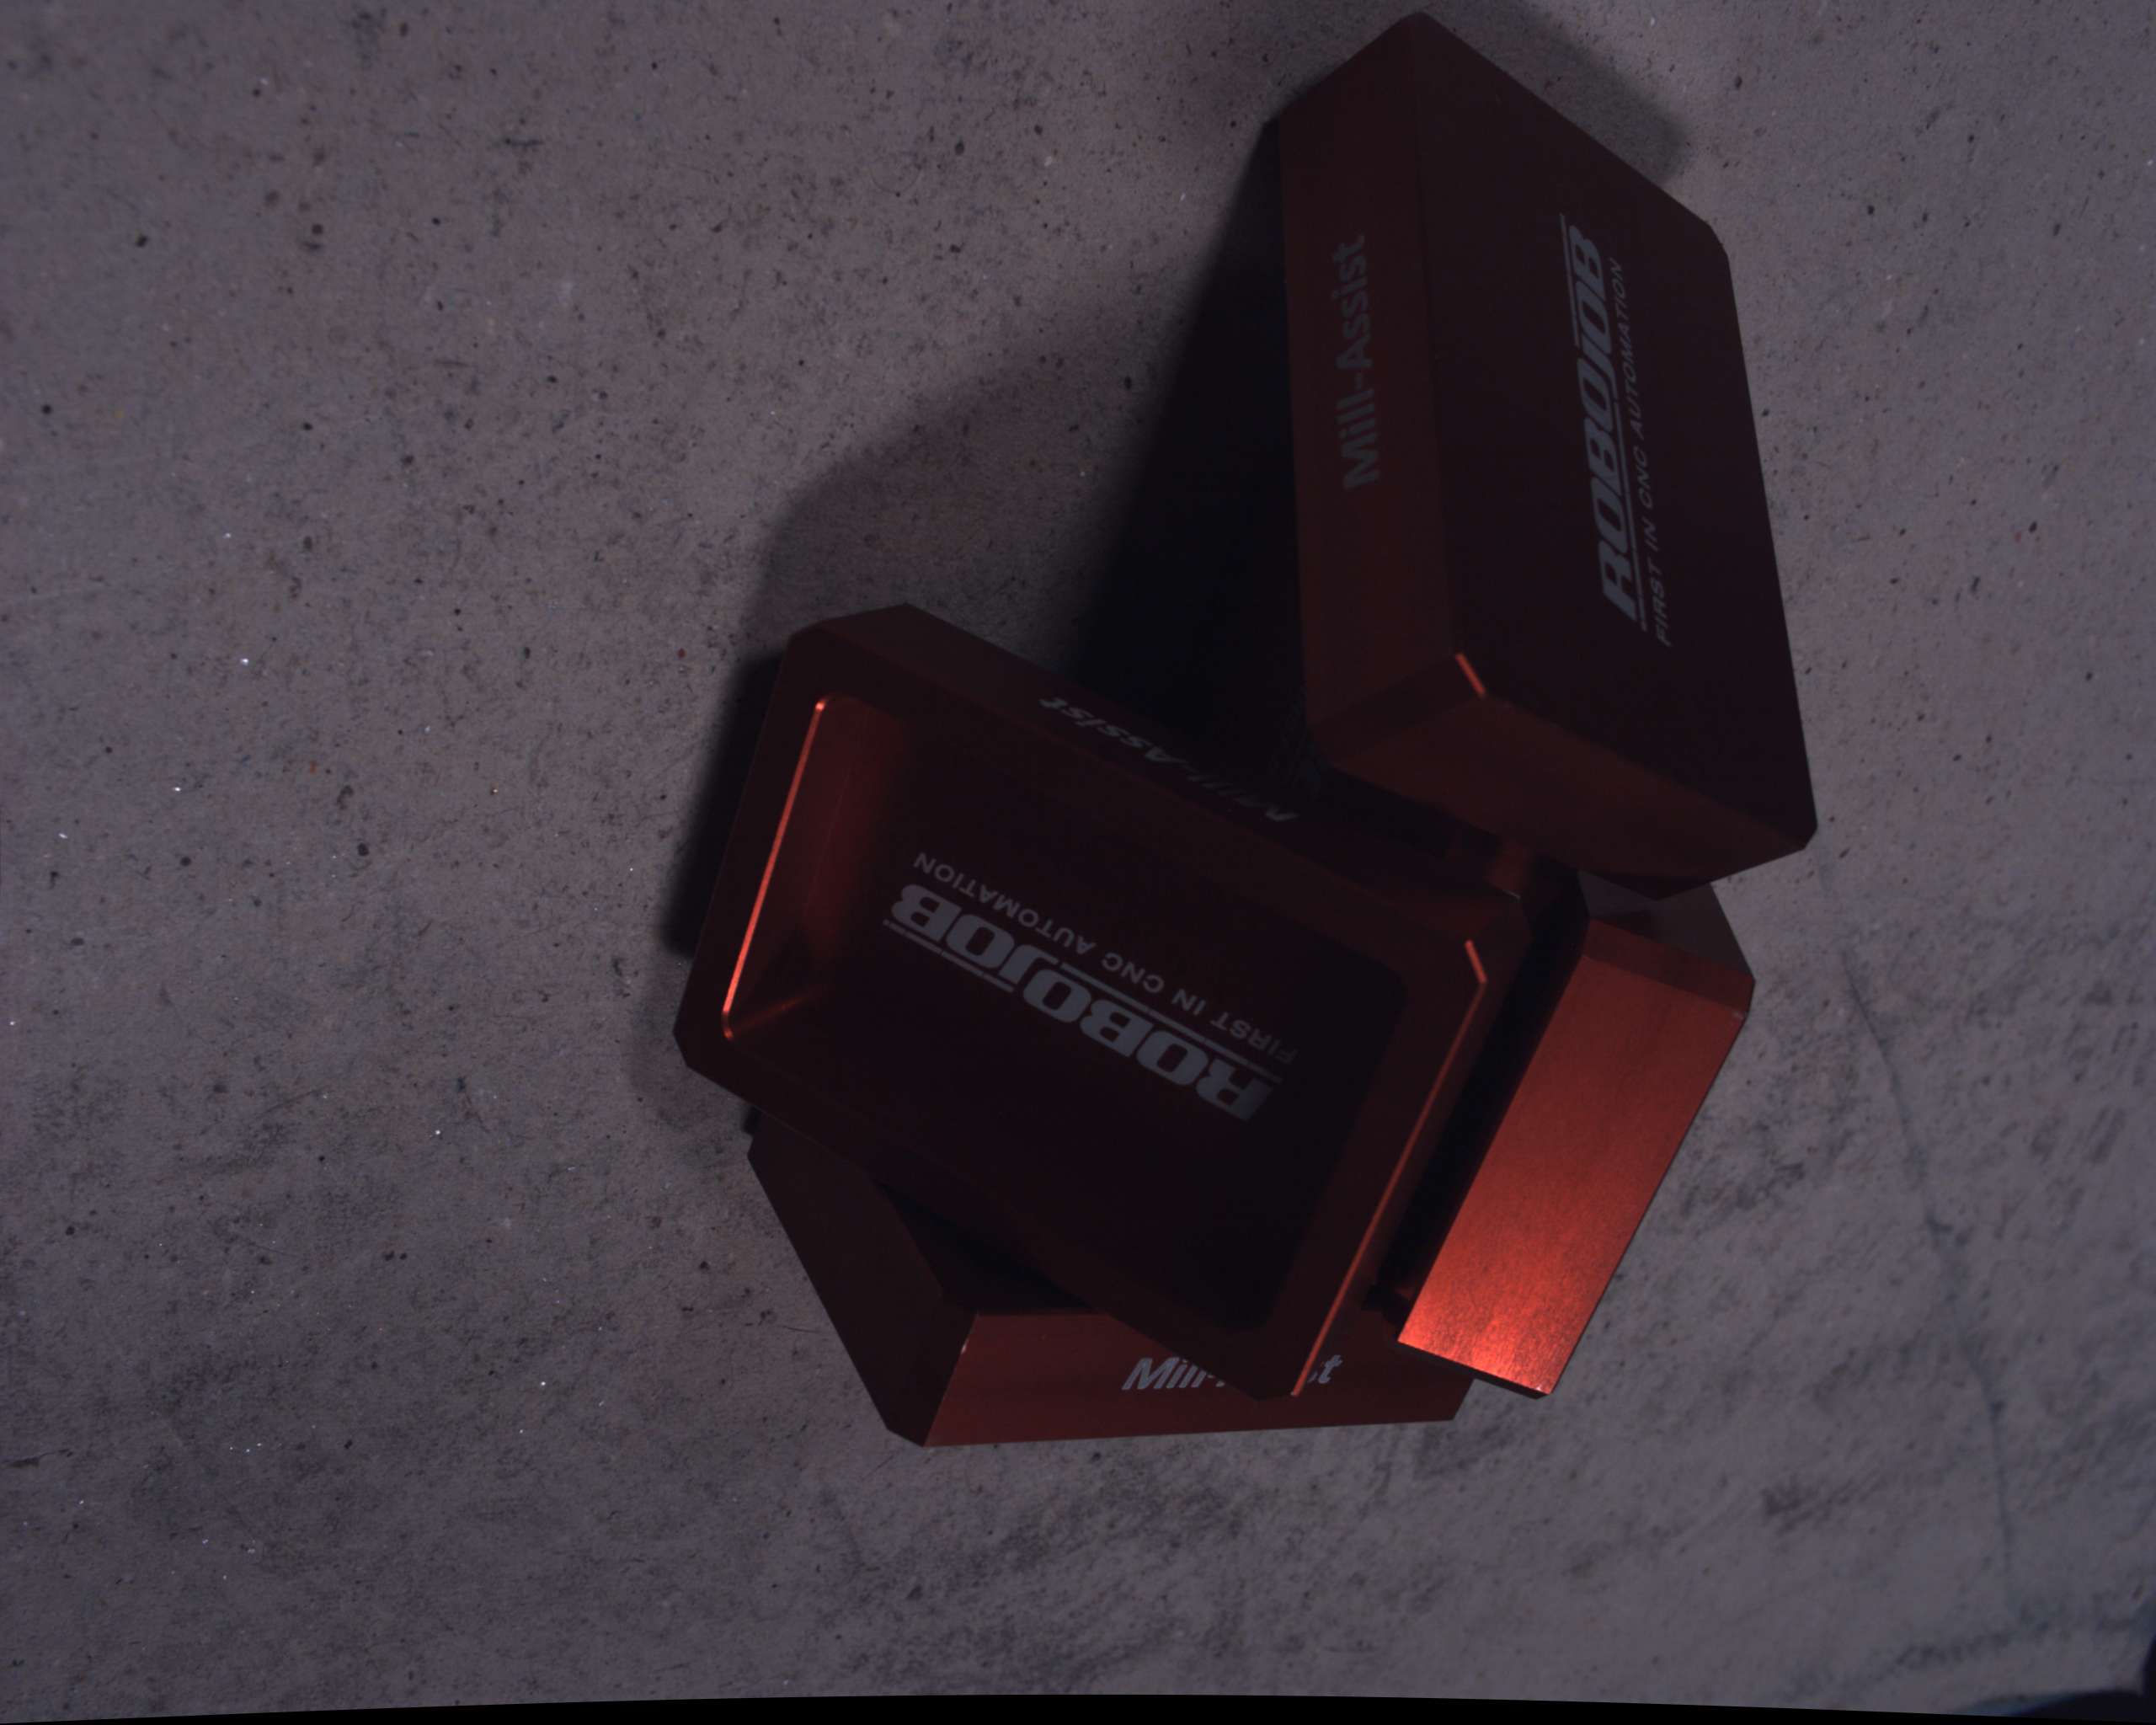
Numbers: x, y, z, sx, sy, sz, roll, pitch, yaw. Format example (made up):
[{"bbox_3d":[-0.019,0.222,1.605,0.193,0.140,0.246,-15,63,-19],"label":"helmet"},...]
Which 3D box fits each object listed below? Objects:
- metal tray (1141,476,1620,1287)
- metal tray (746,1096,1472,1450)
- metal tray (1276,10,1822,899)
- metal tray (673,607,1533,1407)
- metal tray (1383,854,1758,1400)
[{"bbox_3d":[0.046,0.004,0.395,0.030,0.090,0.129,7,115,-32],"label":"metal tray"},{"bbox_3d":[0.010,0.073,0.418,0.131,0.090,0.030,7,115,-32],"label":"metal tray"},{"bbox_3d":[0.078,-0.067,0.351,0.091,0.130,0.030,19,149,-36],"label":"metal tray"},{"bbox_3d":[0.000,0.022,0.360,0.030,0.130,0.089,-26,140,-62],"label":"metal tray"},{"bbox_3d":[0.091,0.032,0.415,0.030,0.130,0.089,20,112,-1],"label":"metal tray"}]
